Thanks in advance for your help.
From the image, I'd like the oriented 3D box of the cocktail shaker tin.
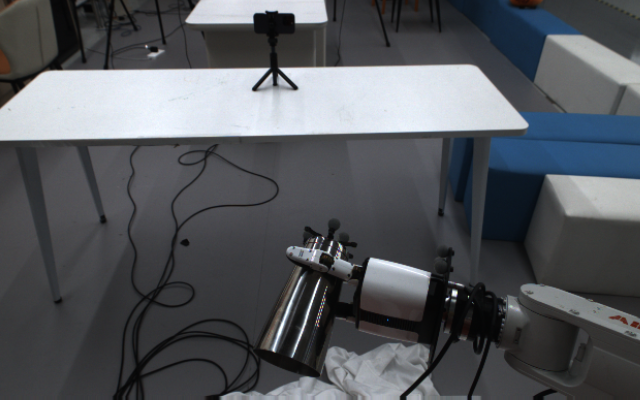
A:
[{"bbox_3d":[-0.015,0.136,0.655,0.093,0.093,0.170,13,60,15],"label":"cocktail shaker tin"}]
